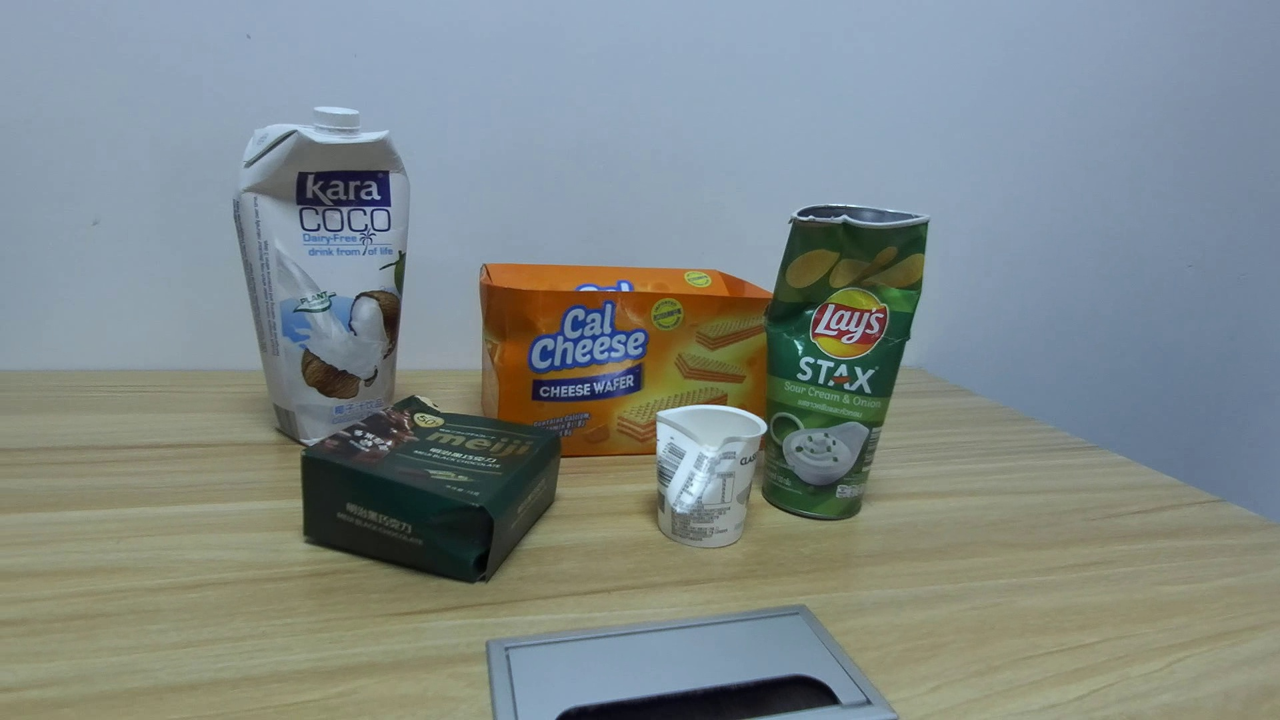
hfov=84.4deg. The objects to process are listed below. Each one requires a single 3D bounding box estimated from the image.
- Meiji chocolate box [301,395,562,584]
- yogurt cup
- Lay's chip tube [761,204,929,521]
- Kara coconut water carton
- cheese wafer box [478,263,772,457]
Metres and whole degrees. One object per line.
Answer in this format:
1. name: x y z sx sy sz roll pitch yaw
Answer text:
1. Meiji chocolate box: -0.116 0.073 0.416 0.115 0.058 0.123 11 16 12
2. yogurt cup: 0.042 0.070 0.431 0.067 0.070 0.067 3 14 0
3. Lay's chip tube: 0.127 0.001 0.466 0.077 0.201 0.069 -2 15 -13
4. Kara coconut water carton: -0.227 -0.059 0.515 0.069 0.238 0.115 18 21 36
5. cheese wafer box: -0.017 -0.003 0.588 0.231 0.132 0.152 1 16 -16
